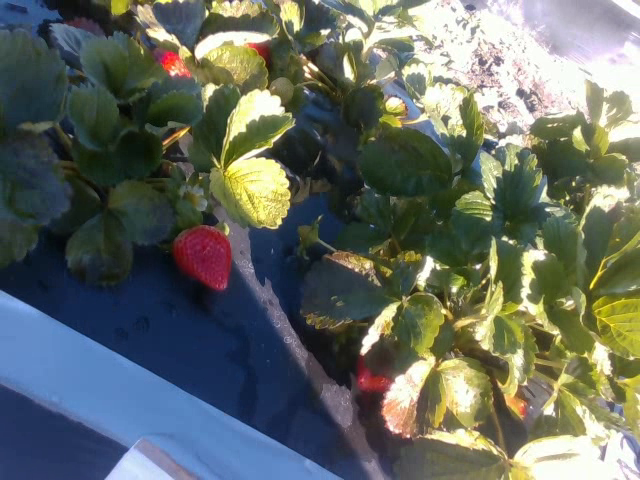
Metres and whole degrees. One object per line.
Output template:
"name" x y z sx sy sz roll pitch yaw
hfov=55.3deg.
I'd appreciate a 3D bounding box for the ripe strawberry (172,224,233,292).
"ripe strawberry" -0.077 0.014 0.413 0.045 0.059 0.042 -23 -20 -2
